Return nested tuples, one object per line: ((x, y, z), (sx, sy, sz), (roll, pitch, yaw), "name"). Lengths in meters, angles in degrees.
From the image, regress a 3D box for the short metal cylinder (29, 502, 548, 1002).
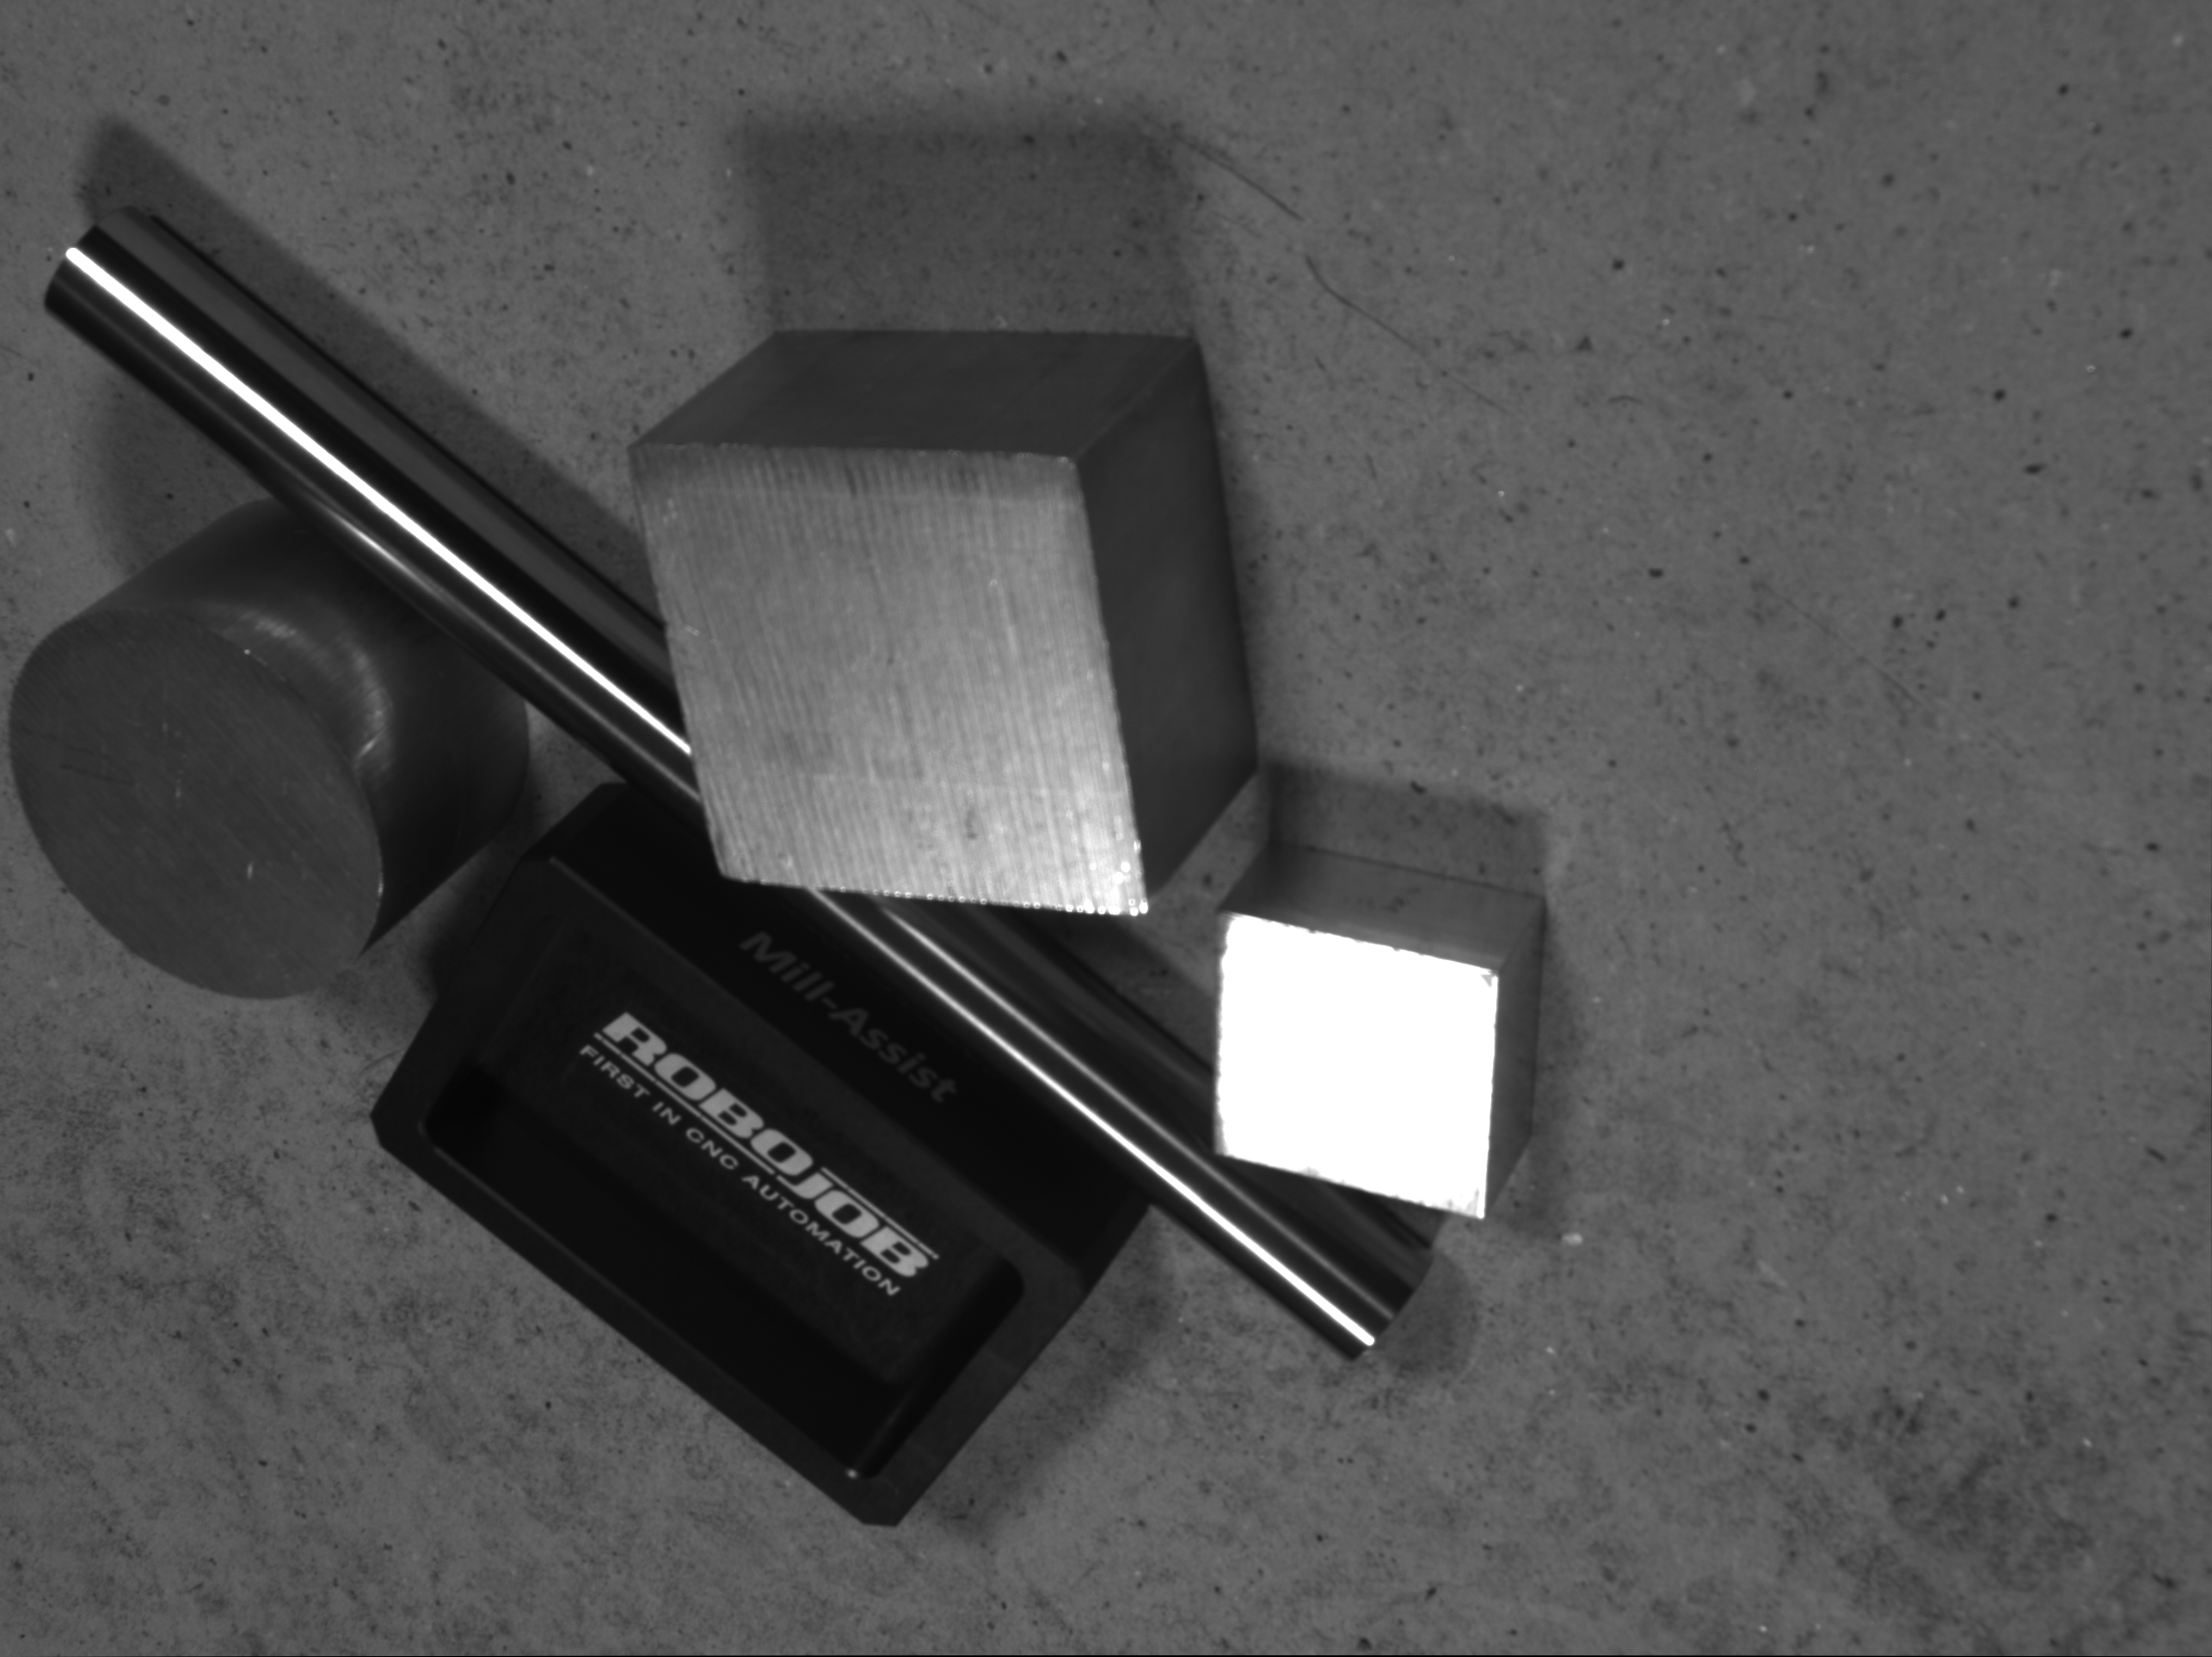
((-0.152, -0.015, 0.682), (0.080, 0.050, 0.080), (12, 123, 20), "short metal cylinder")

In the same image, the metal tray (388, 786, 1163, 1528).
((-0.064, 0.064, 0.699), (0.130, 0.030, 0.090), (38, 128, 2), "metal tray")

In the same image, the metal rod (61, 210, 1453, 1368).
((-0.063, -0.007, 0.657), (0.300, 0.025, 0.025), (39, 128, 1), "metal rod")

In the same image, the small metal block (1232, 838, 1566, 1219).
((0.050, 0.034, 0.627), (0.050, 0.025, 0.050), (12, 123, 20), "small metal block")

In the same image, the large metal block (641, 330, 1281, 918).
((-0.022, -0.035, 0.605), (0.080, 0.050, 0.080), (4, 120, 25), "large metal block")
